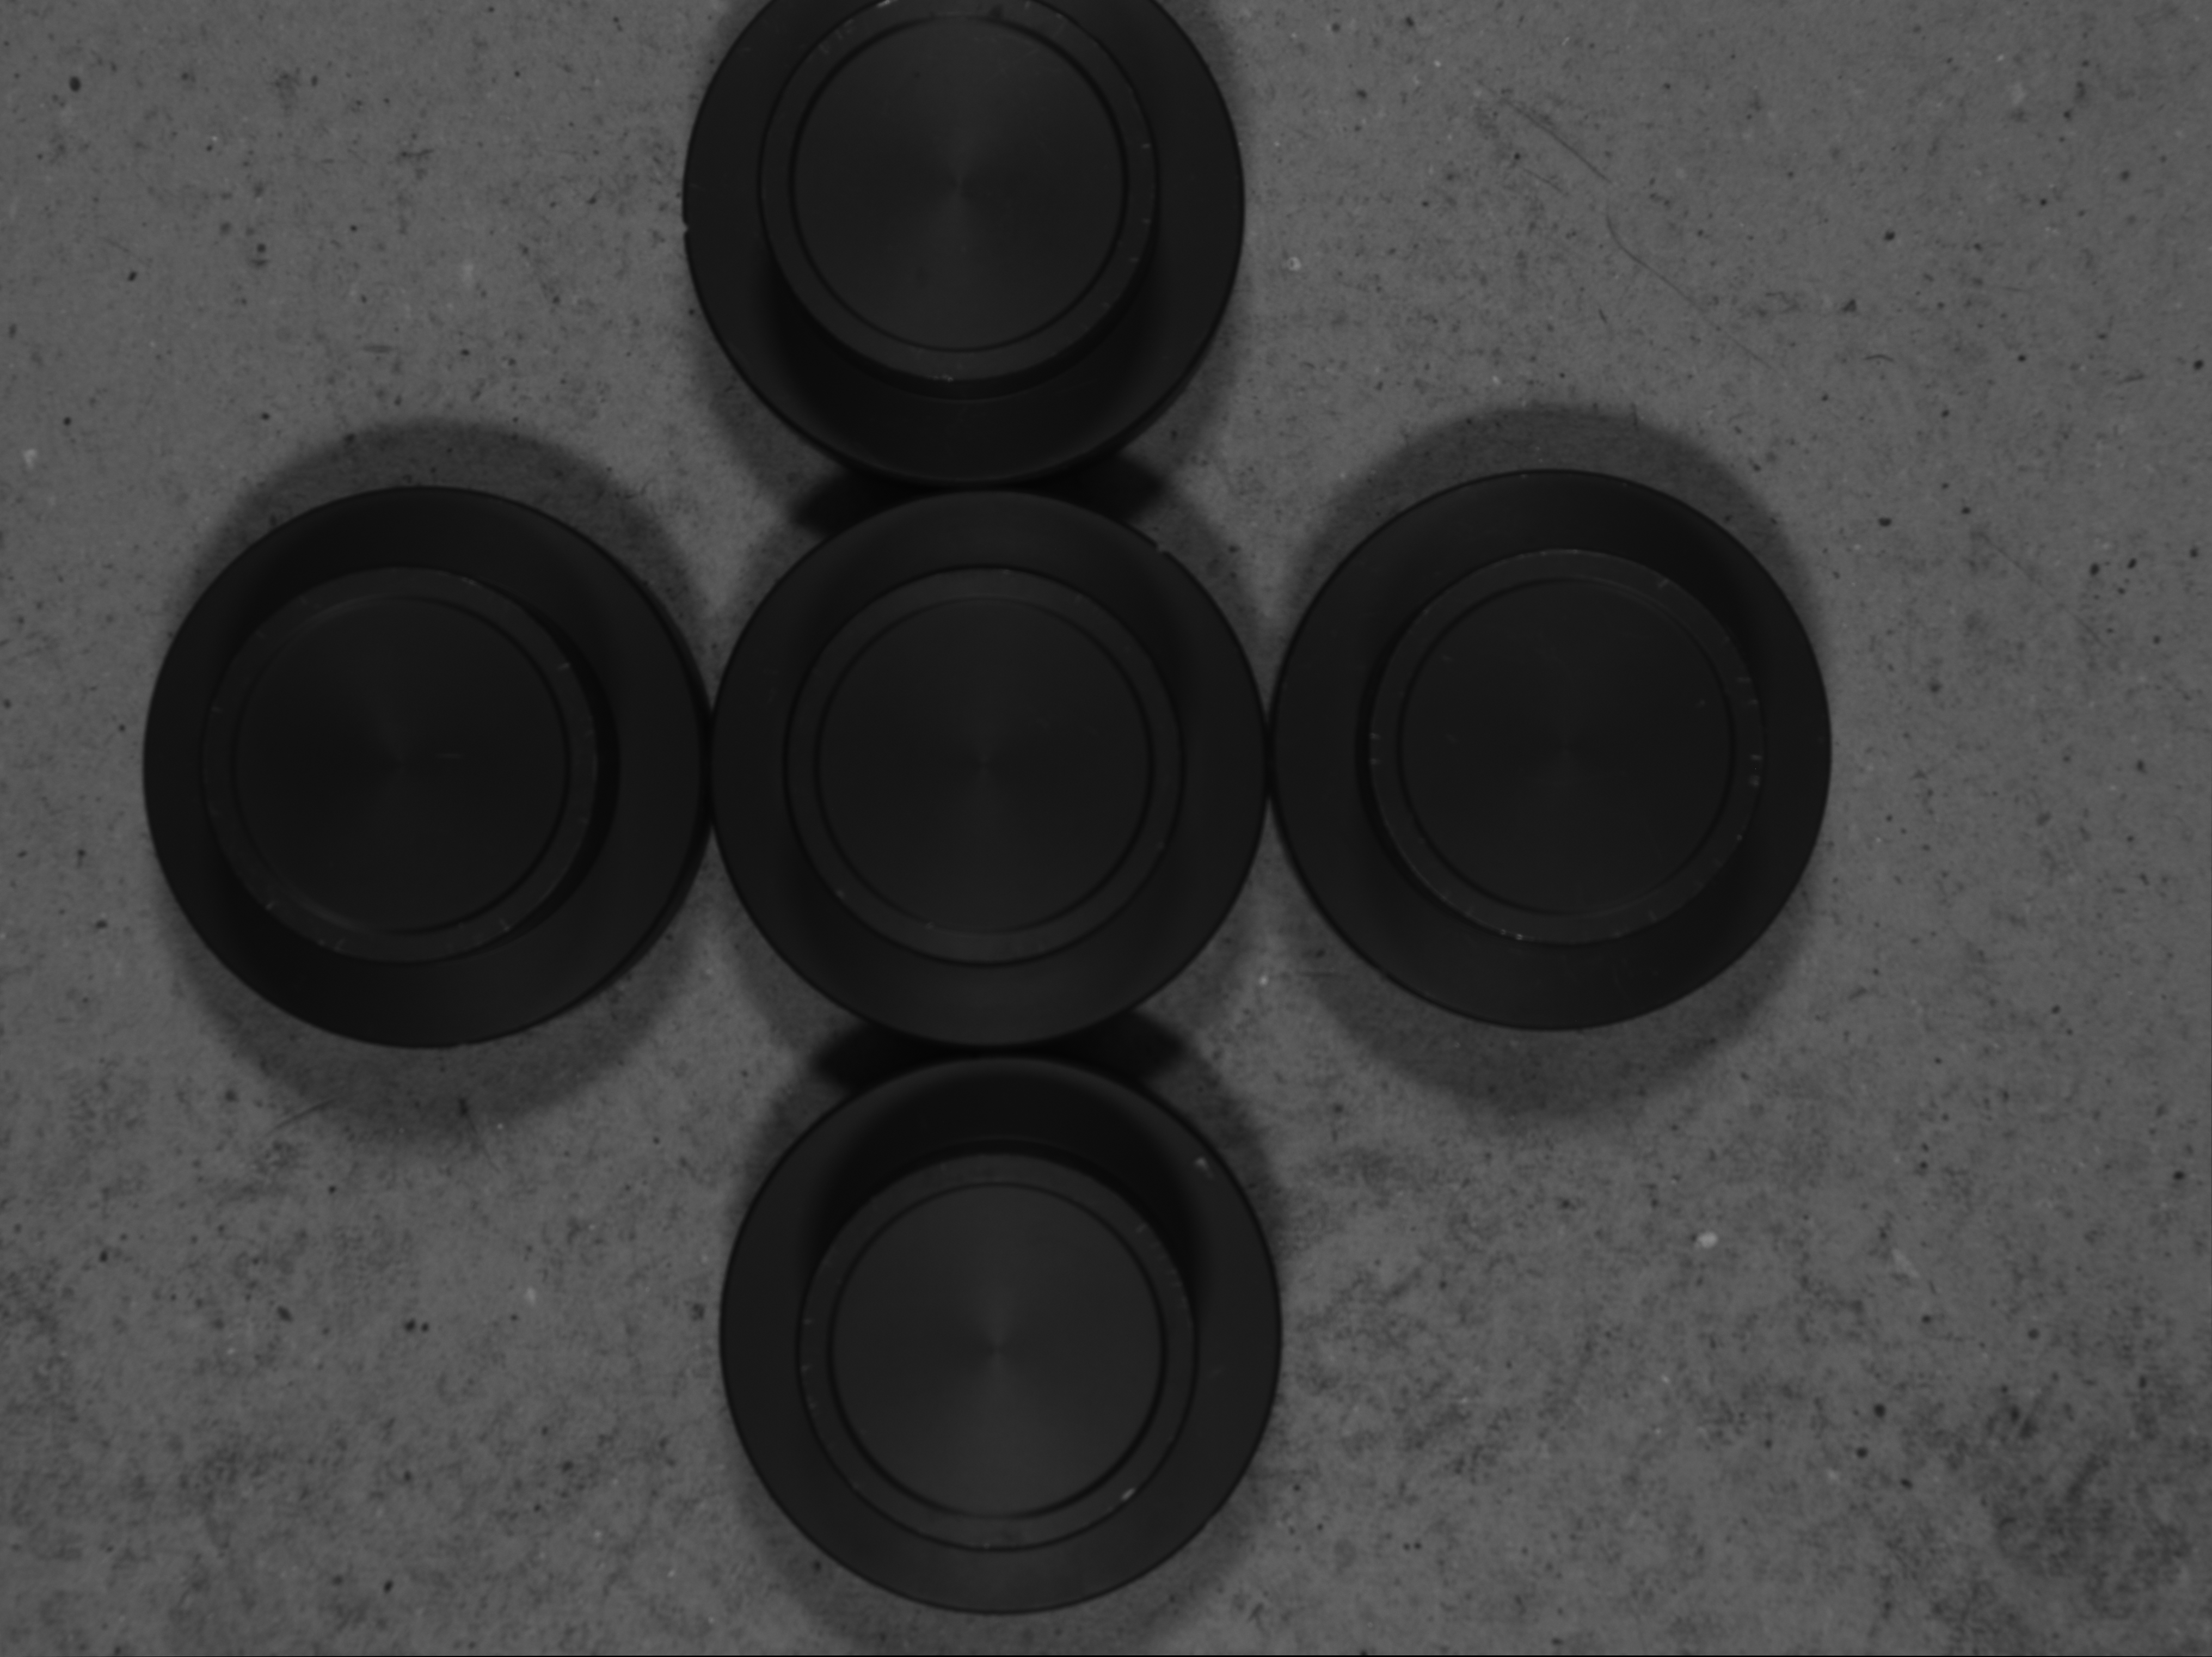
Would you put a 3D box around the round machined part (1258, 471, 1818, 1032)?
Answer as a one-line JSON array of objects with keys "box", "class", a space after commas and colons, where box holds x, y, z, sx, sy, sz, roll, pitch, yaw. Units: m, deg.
[{"box": [0.076, -0.013, 0.638, 0.098, 0.042, 0.098, 0, 90, 0], "class": "round machined part"}]

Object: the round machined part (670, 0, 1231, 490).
[{"box": [-0.027, -0.109, 0.637, 0.098, 0.042, 0.098, 0, 90, 0], "class": "round machined part"}]

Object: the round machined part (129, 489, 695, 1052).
[{"box": [-0.121, -0.010, 0.636, 0.098, 0.042, 0.098, 0, 90, 0], "class": "round machined part"}]

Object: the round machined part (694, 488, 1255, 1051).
[{"box": [-0.023, -0.010, 0.637, 0.098, 0.042, 0.098, 0, 90, 0], "class": "round machined part"}]

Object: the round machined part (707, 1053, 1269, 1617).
[{"box": [-0.021, 0.088, 0.636, 0.098, 0.042, 0.098, 0, 90, 0], "class": "round machined part"}]
